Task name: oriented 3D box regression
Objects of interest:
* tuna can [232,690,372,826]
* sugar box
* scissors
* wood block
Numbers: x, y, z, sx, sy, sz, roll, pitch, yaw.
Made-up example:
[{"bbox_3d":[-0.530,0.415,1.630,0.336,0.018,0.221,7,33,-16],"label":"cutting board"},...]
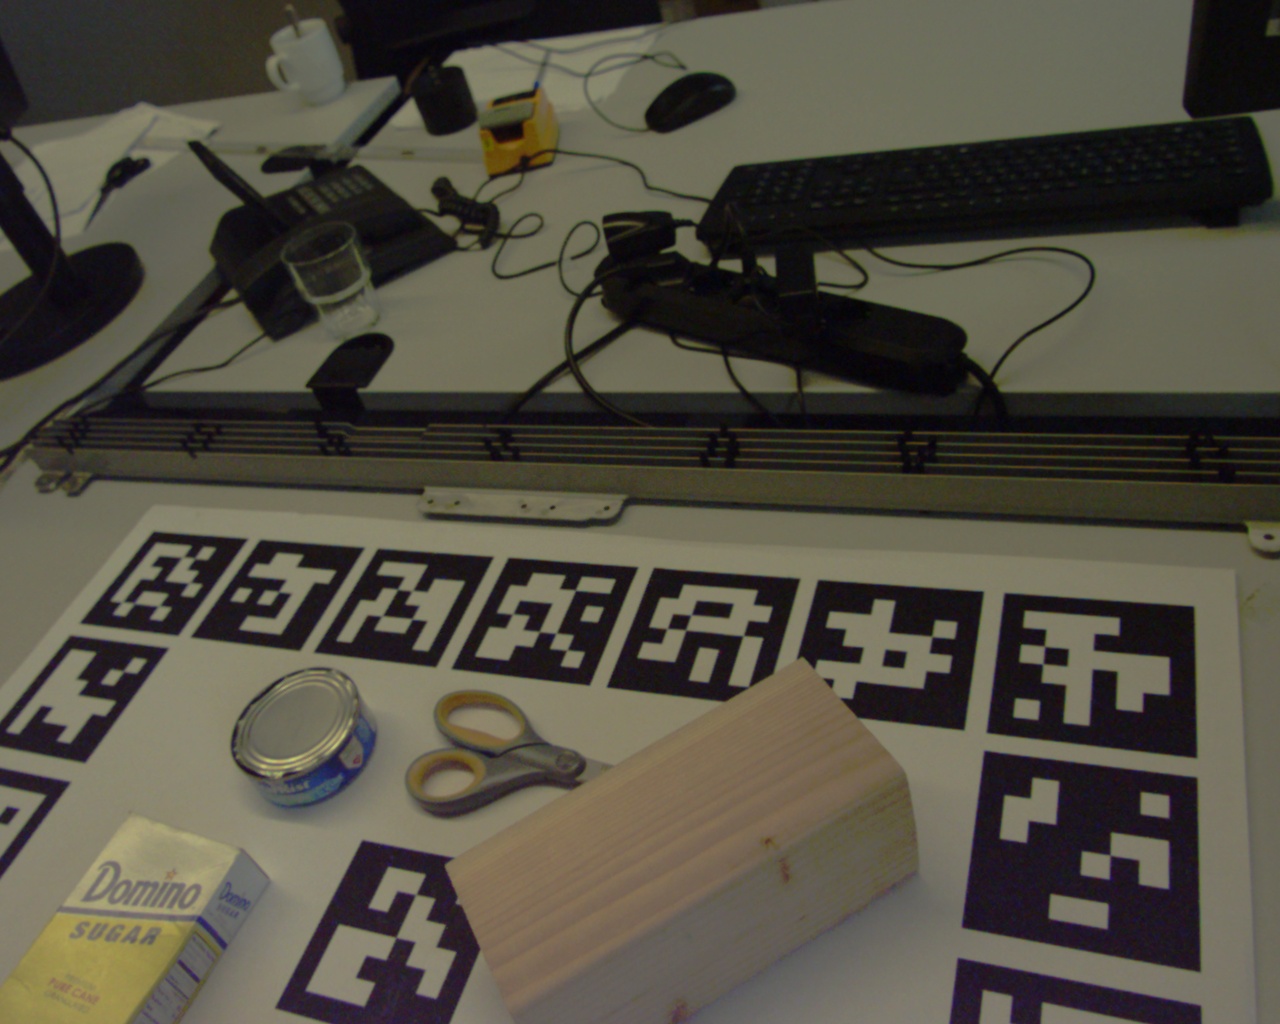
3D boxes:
[{"bbox_3d":[-0.222,0.163,0.753,0.086,0.033,0.086,-12,44,10],"label":"tuna can"},{"bbox_3d":[-0.296,0.283,0.657,0.094,0.045,0.176,6,49,26],"label":"sugar box"},{"bbox_3d":[-0.056,0.172,0.696,0.205,0.016,0.087,7,49,30],"label":"scissors"},{"bbox_3d":[0.025,0.198,0.587,0.205,0.090,0.091,-29,42,-11],"label":"wood block"}]
